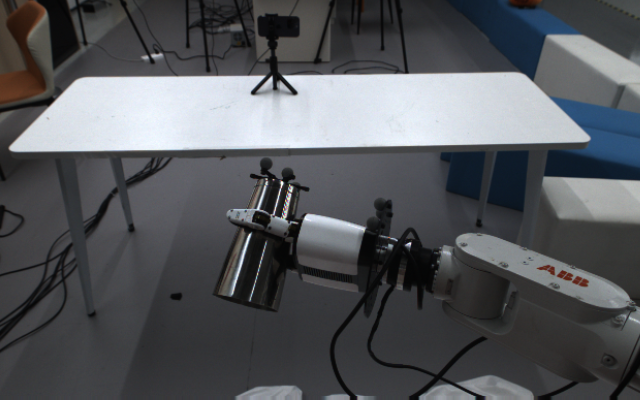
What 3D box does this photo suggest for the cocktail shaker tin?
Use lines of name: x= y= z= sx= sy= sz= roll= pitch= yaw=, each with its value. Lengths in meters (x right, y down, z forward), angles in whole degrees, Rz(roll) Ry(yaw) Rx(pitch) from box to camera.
cocktail shaker tin: x=-0.080 y=0.061 z=0.672 sx=0.093 sy=0.093 sz=0.170 roll=10 pitch=71 yaw=12
